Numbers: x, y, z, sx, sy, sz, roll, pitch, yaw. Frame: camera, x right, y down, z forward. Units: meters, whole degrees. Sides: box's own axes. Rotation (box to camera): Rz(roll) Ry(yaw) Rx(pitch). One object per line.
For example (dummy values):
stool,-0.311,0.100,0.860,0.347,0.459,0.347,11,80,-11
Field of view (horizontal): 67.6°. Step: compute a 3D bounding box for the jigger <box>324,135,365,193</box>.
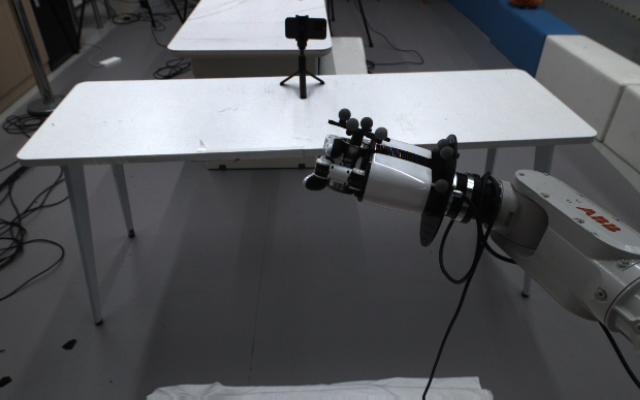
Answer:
jigger,0.039,-0.047,0.672,0.043,0.071,0.043,18,17,-6
